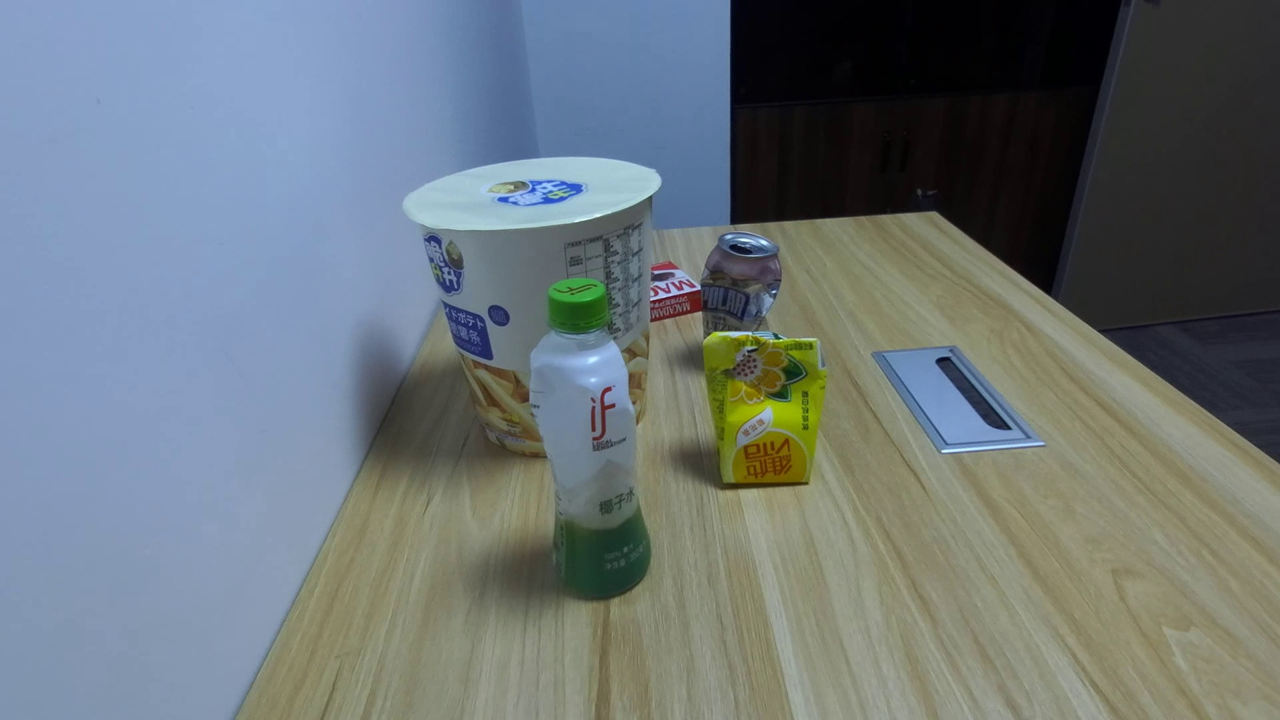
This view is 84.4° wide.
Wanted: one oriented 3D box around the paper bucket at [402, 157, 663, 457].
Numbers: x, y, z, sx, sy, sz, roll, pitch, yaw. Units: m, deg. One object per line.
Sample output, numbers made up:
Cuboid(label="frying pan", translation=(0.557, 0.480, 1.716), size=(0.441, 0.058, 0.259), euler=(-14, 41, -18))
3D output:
Cuboid(label="paper bucket", translation=(-0.072, -0.044, 0.571), size=(0.198, 0.195, 0.198), euler=(-3, 29, 2))

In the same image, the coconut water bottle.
Cuboid(label="coconut water bottle", translation=(-0.027, 0.046, 0.405), size=(0.069, 0.186, 0.069), euler=(-2, 28, 2))

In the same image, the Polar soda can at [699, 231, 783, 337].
Cuboid(label="Polar soda can", translation=(0.096, -0.050, 0.640), size=(0.070, 0.122, 0.067), euler=(22, 33, 35))

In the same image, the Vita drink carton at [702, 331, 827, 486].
Cuboid(label="Vita drink carton", translation=(0.088, 0.031, 0.508), size=(0.087, 0.108, 0.042), euler=(0, 15, -1))

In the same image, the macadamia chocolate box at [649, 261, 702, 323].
Cuboid(label="macadamia chocolate box", translation=(-0.028, -0.065, 0.789), size=(0.183, 0.028, 0.105), euler=(-13, 28, -16))
